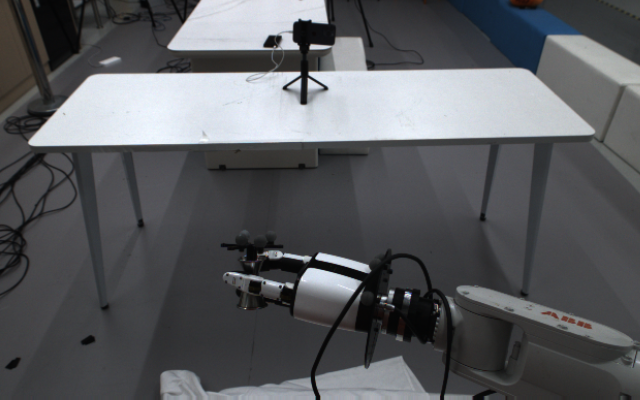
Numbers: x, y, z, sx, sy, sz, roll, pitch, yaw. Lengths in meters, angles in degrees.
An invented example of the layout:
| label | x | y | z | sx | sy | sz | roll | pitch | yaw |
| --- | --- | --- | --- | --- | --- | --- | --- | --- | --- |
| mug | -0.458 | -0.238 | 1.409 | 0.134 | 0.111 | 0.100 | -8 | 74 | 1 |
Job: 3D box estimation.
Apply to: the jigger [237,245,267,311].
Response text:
| label | x | y | z | sx | sy | sz | roll | pitch | yaw |
| --- | --- | --- | --- | --- | --- | --- | --- | --- | --- |
| jigger | -0.095 | 0.115 | 0.682 | 0.043 | 0.071 | 0.043 | 0 | 2 | 0 |
